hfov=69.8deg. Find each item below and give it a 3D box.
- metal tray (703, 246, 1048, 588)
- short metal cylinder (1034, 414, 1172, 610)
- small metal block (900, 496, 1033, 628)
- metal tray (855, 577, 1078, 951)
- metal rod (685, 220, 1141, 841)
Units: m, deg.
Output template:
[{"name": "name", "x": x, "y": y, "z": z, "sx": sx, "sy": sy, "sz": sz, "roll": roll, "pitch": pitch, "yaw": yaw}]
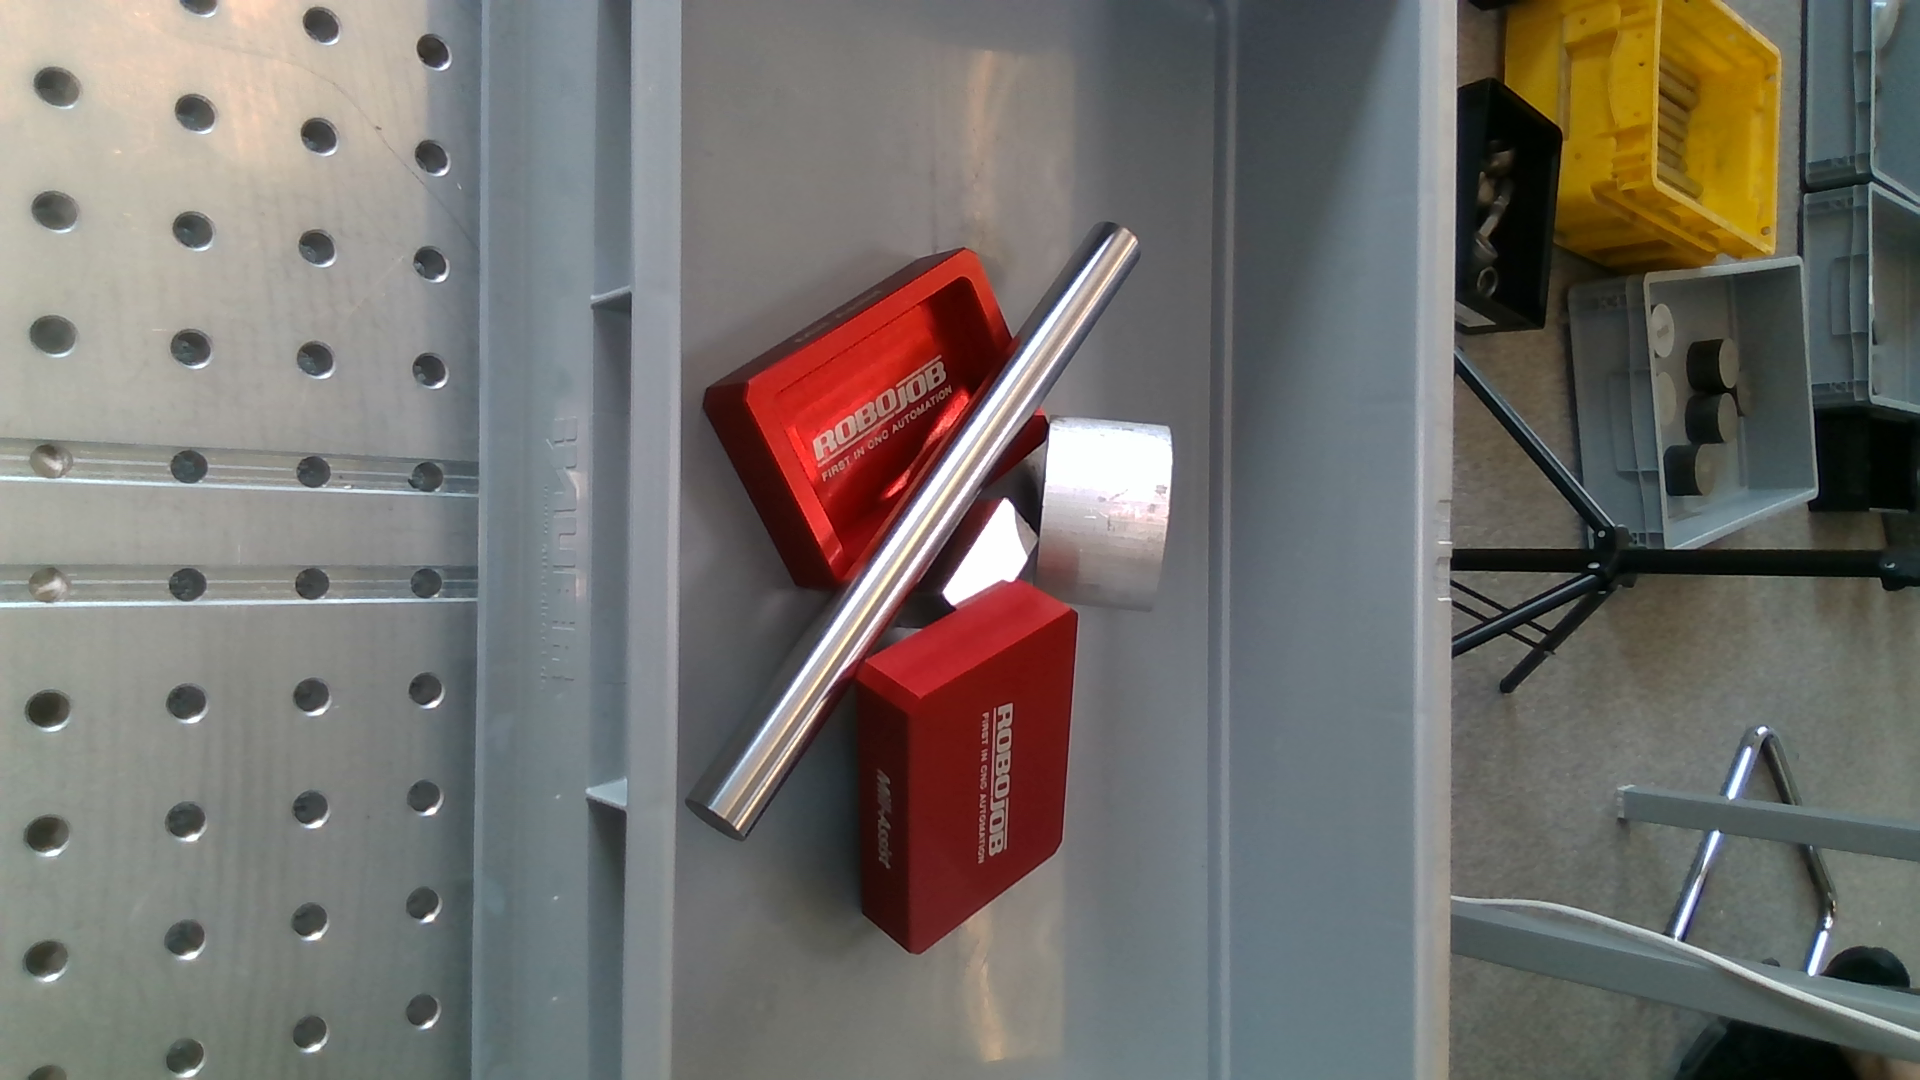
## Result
[{"name": "metal tray", "x": -0.029, "y": -0.050, "z": 0.554, "sx": 0.130, "sy": 0.030, "sz": 0.090, "roll": -39, "pitch": 114, "yaw": -33}, {"name": "short metal cylinder", "x": 0.059, "y": -0.012, "z": 0.588, "sx": 0.050, "sy": 0.080, "sz": 0.080, "roll": 6, "pitch": 85, "yaw": 2}, {"name": "small metal block", "x": -0.003, "y": 0.010, "z": 0.562, "sx": 0.025, "sy": 0.050, "sz": 0.050, "roll": 48, "pitch": 61, "yaw": -29}, {"name": "metal tray", "x": 0.003, "y": 0.090, "z": 0.548, "sx": 0.090, "sy": 0.030, "sz": 0.130, "roll": -27, "pitch": 131, "yaw": -37}, {"name": "metal rod", "x": -0.008, "y": -0.016, "z": 0.536, "sx": 0.025, "sy": 0.025, "sz": 0.299, "roll": 49, "pitch": 61, "yaw": -29}]
